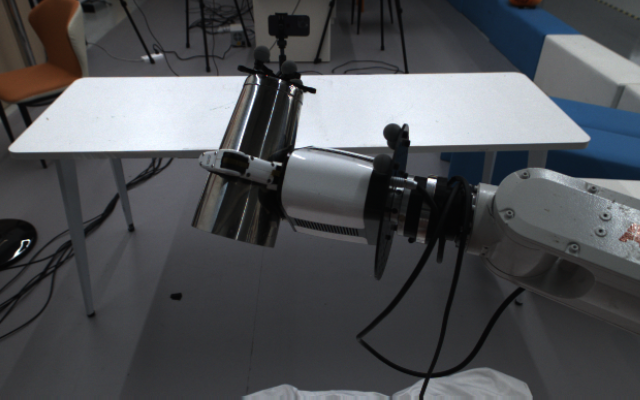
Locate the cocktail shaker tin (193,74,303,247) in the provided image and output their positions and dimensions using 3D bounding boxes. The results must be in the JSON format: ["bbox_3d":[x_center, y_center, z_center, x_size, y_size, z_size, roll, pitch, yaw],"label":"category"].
[{"bbox_3d":[-0.070,-0.041,0.524,0.093,0.170,0.093,15,-4,1],"label":"cocktail shaker tin"}]
